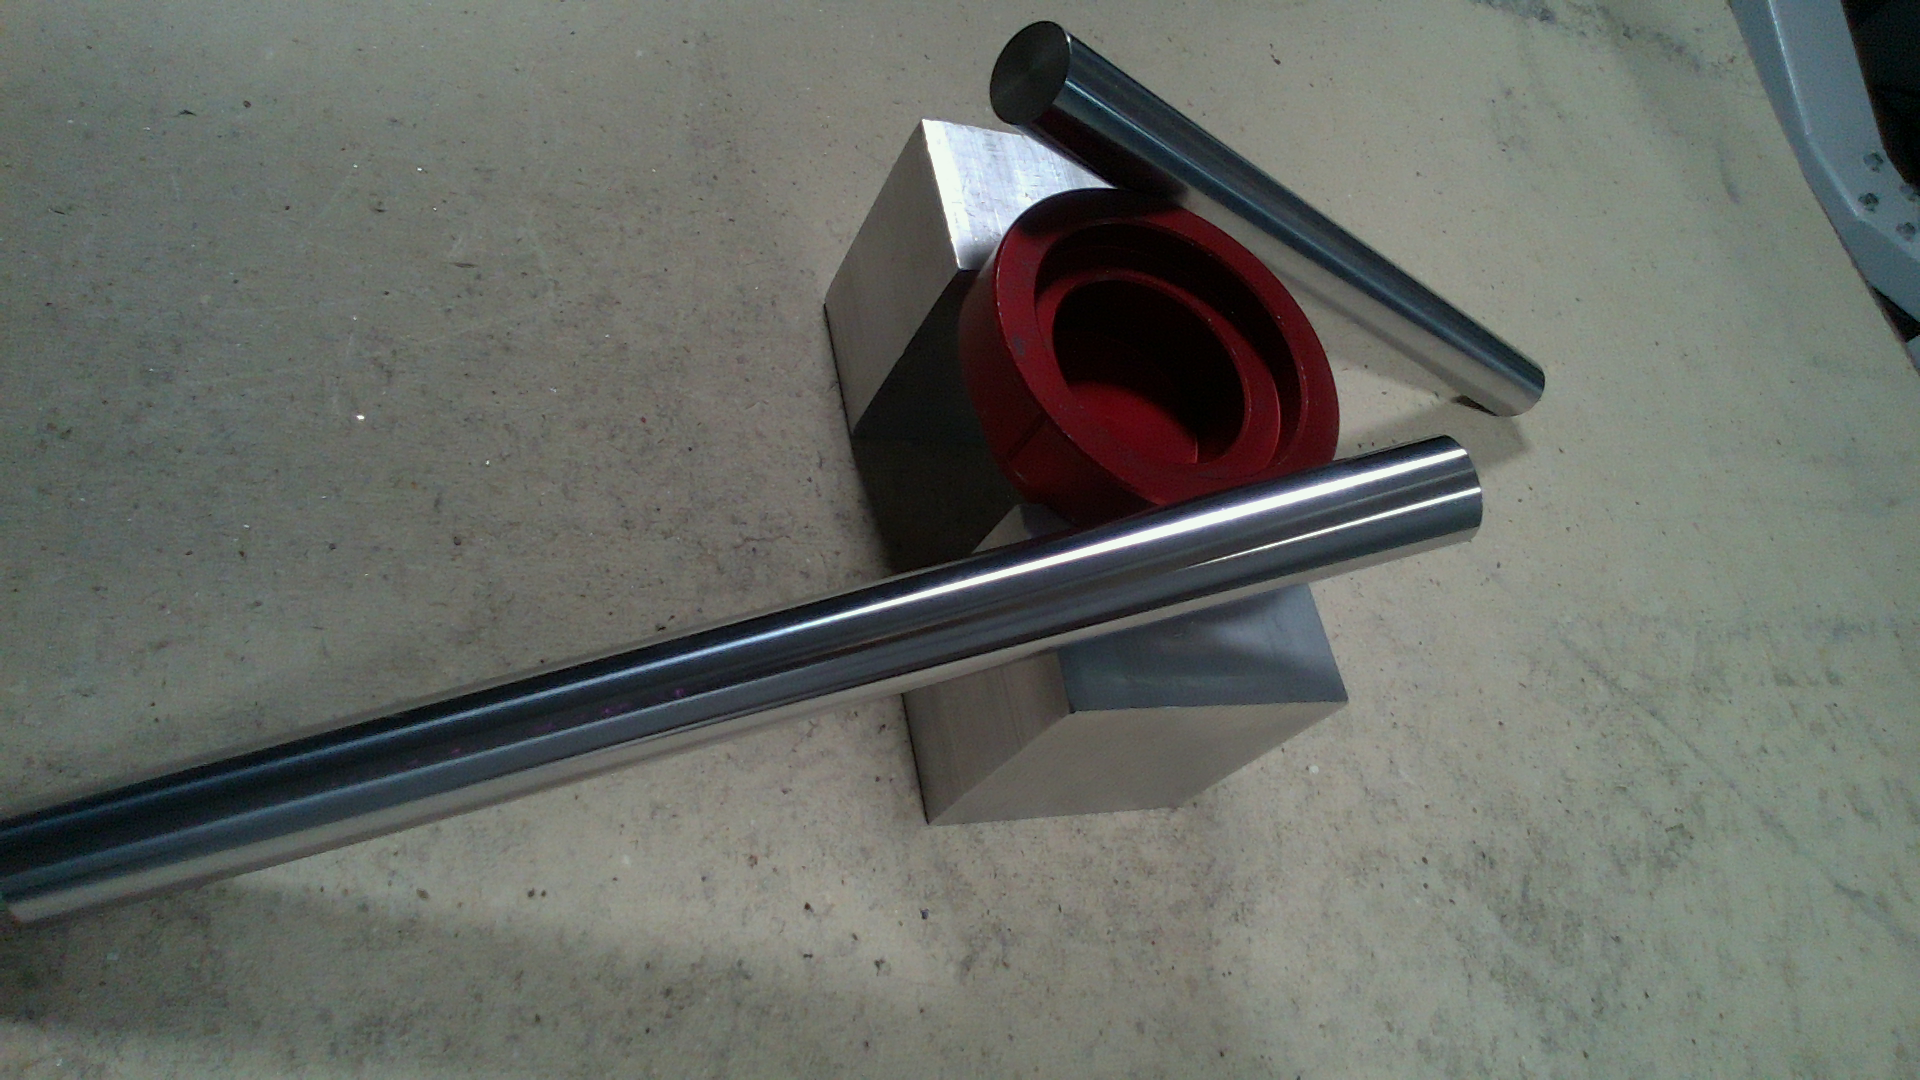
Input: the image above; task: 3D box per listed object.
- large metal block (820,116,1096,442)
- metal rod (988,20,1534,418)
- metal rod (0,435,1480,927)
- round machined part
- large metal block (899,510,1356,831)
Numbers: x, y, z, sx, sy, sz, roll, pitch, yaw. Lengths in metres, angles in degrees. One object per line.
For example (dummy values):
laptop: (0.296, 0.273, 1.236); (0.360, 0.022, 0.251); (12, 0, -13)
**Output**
large metal block: (0.014, -0.071, 0.405); (0.080, 0.080, 0.050); (1, 61, -28)
metal rod: (0.116, -0.086, 0.436); (0.301, 0.025, 0.025); (14, 53, -47)
metal rod: (-0.034, 0.025, 0.285); (0.300, 0.025, 0.025); (-14, 67, -9)
round machined part: (0.044, -0.038, 0.350); (0.098, 0.042, 0.098); (14, 56, -21)
large metal block: (0.038, 0.035, 0.354); (0.080, 0.080, 0.050); (1, 61, -28)
